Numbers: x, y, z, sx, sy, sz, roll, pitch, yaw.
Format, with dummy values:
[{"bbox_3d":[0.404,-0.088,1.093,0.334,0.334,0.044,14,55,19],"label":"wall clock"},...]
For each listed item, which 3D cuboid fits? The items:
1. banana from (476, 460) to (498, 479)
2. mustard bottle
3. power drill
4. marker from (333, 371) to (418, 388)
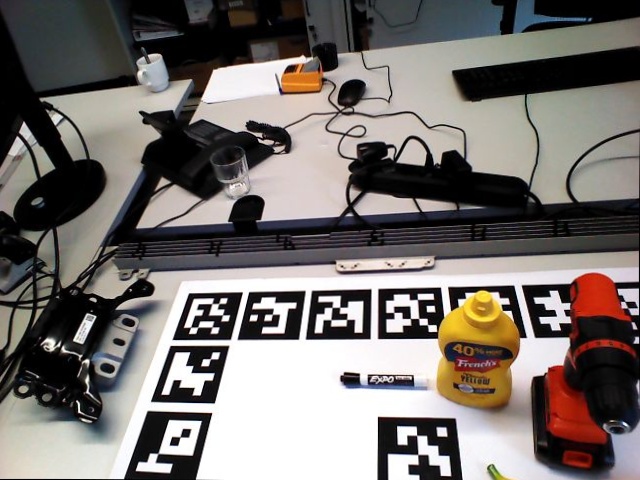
[{"bbox_3d":[0.277,0.300,0.580,0.198,0.039,0.073,3,47,18],"label":"banana"},{"bbox_3d":[0.189,0.141,0.652,0.097,0.192,0.058,7,46,18],"label":"mustard bottle"},{"bbox_3d":[0.283,0.171,0.574,0.057,0.187,0.183,10,45,19],"label":"power drill"},{"bbox_3d":[0.079,0.200,0.743,0.121,0.020,0.019,0,45,13],"label":"marker"}]
